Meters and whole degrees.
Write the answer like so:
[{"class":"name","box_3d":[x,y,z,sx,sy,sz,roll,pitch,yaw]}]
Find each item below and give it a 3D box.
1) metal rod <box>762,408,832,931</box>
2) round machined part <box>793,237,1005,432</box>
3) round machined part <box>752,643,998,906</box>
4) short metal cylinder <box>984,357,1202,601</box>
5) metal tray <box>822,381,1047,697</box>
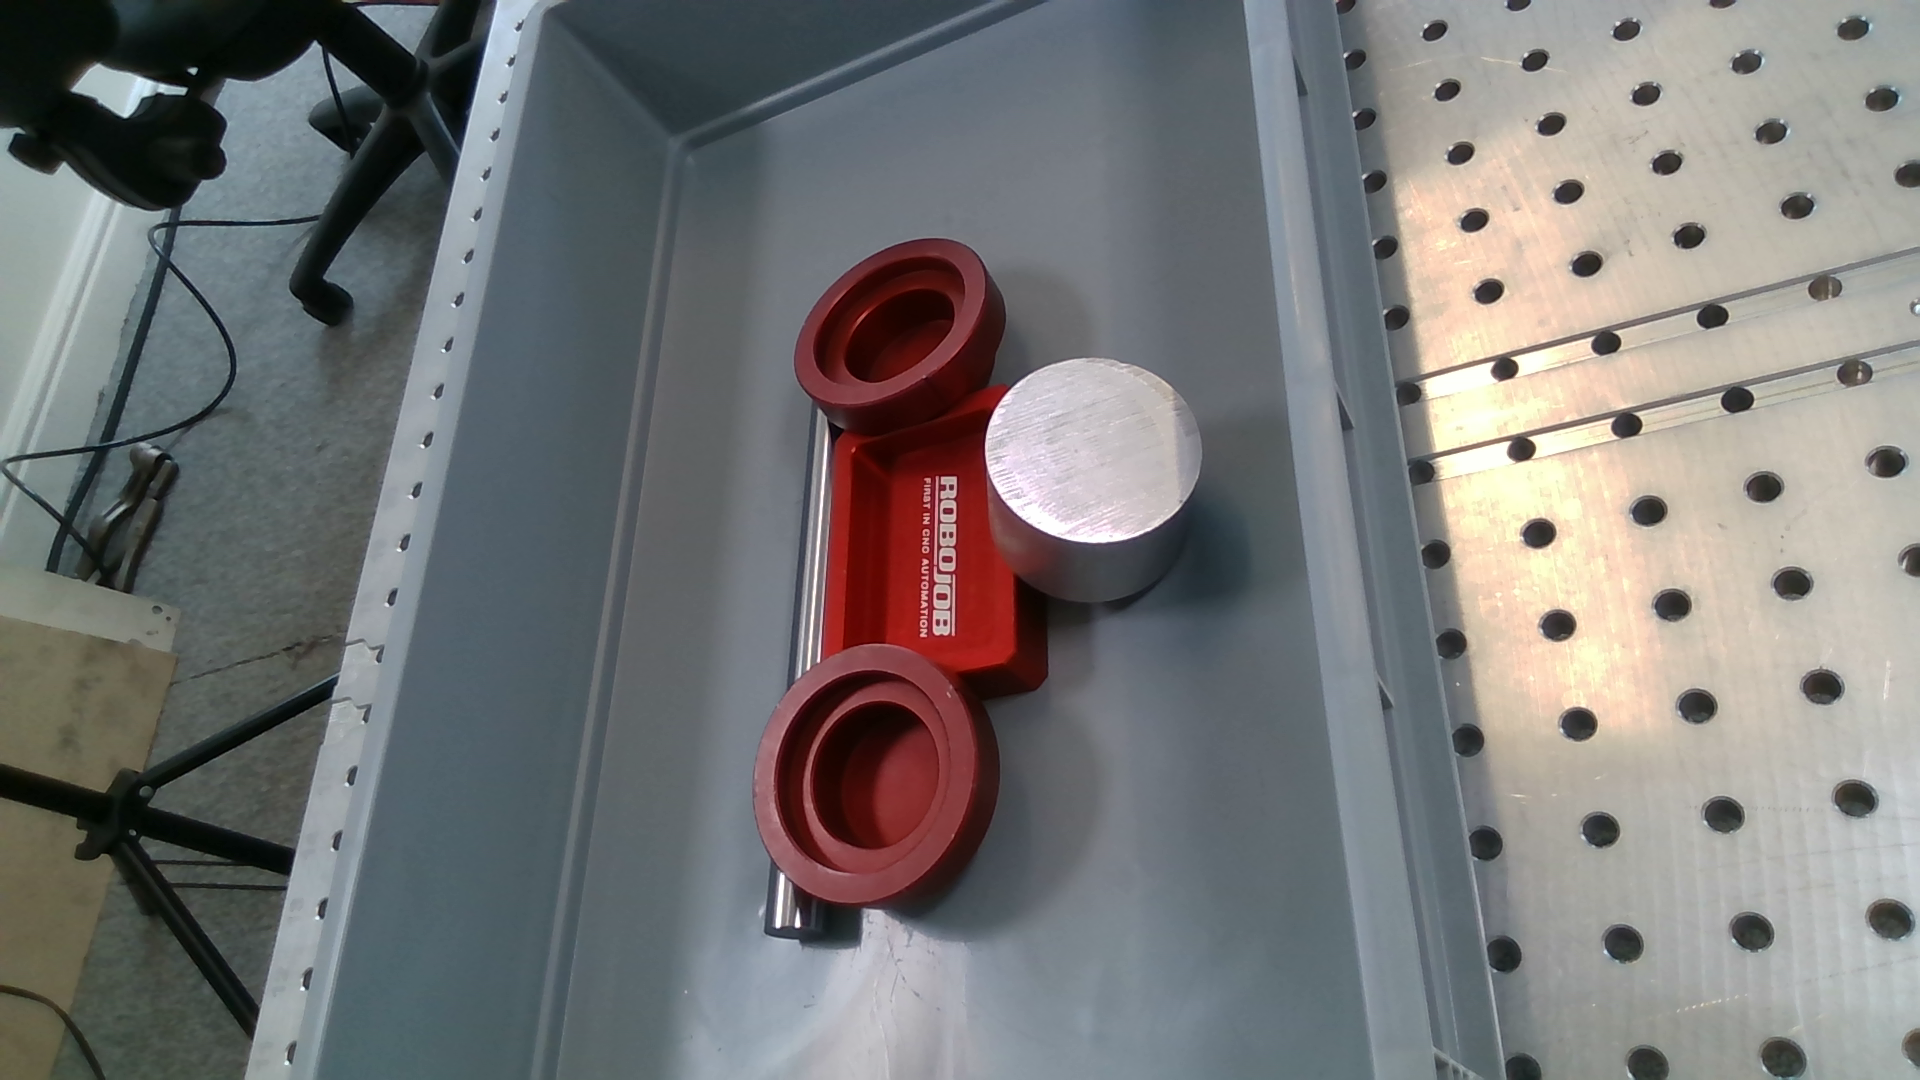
[{"class":"metal rod","box_3d":[-0.062,0.021,0.611,0.025,0.025,0.299,-13,60,26]},{"class":"round machined part","box_3d":[-0.023,-0.088,0.628,0.098,0.042,0.098,-16,50,20]},{"class":"round machined part","box_3d":[-0.029,0.092,0.535,0.098,0.042,0.098,-9,68,25]},{"class":"short metal cylinder","box_3d":[0.050,-0.023,0.531,0.080,0.050,0.080,-1,62,2]},{"class":"metal tray","box_3d":[-0.011,0.004,0.585,0.090,0.030,0.130,-14,59,26]}]
